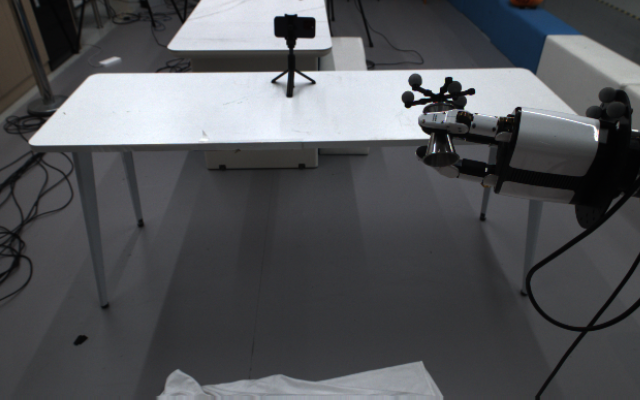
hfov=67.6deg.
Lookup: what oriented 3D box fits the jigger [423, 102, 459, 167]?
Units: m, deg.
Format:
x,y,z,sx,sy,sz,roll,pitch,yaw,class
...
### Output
x,y,z,sx,sy,sz,roll,pitch,yaw,class
0.146,-0.082,0.595,0.043,0.043,0.071,3,72,1,jigger
